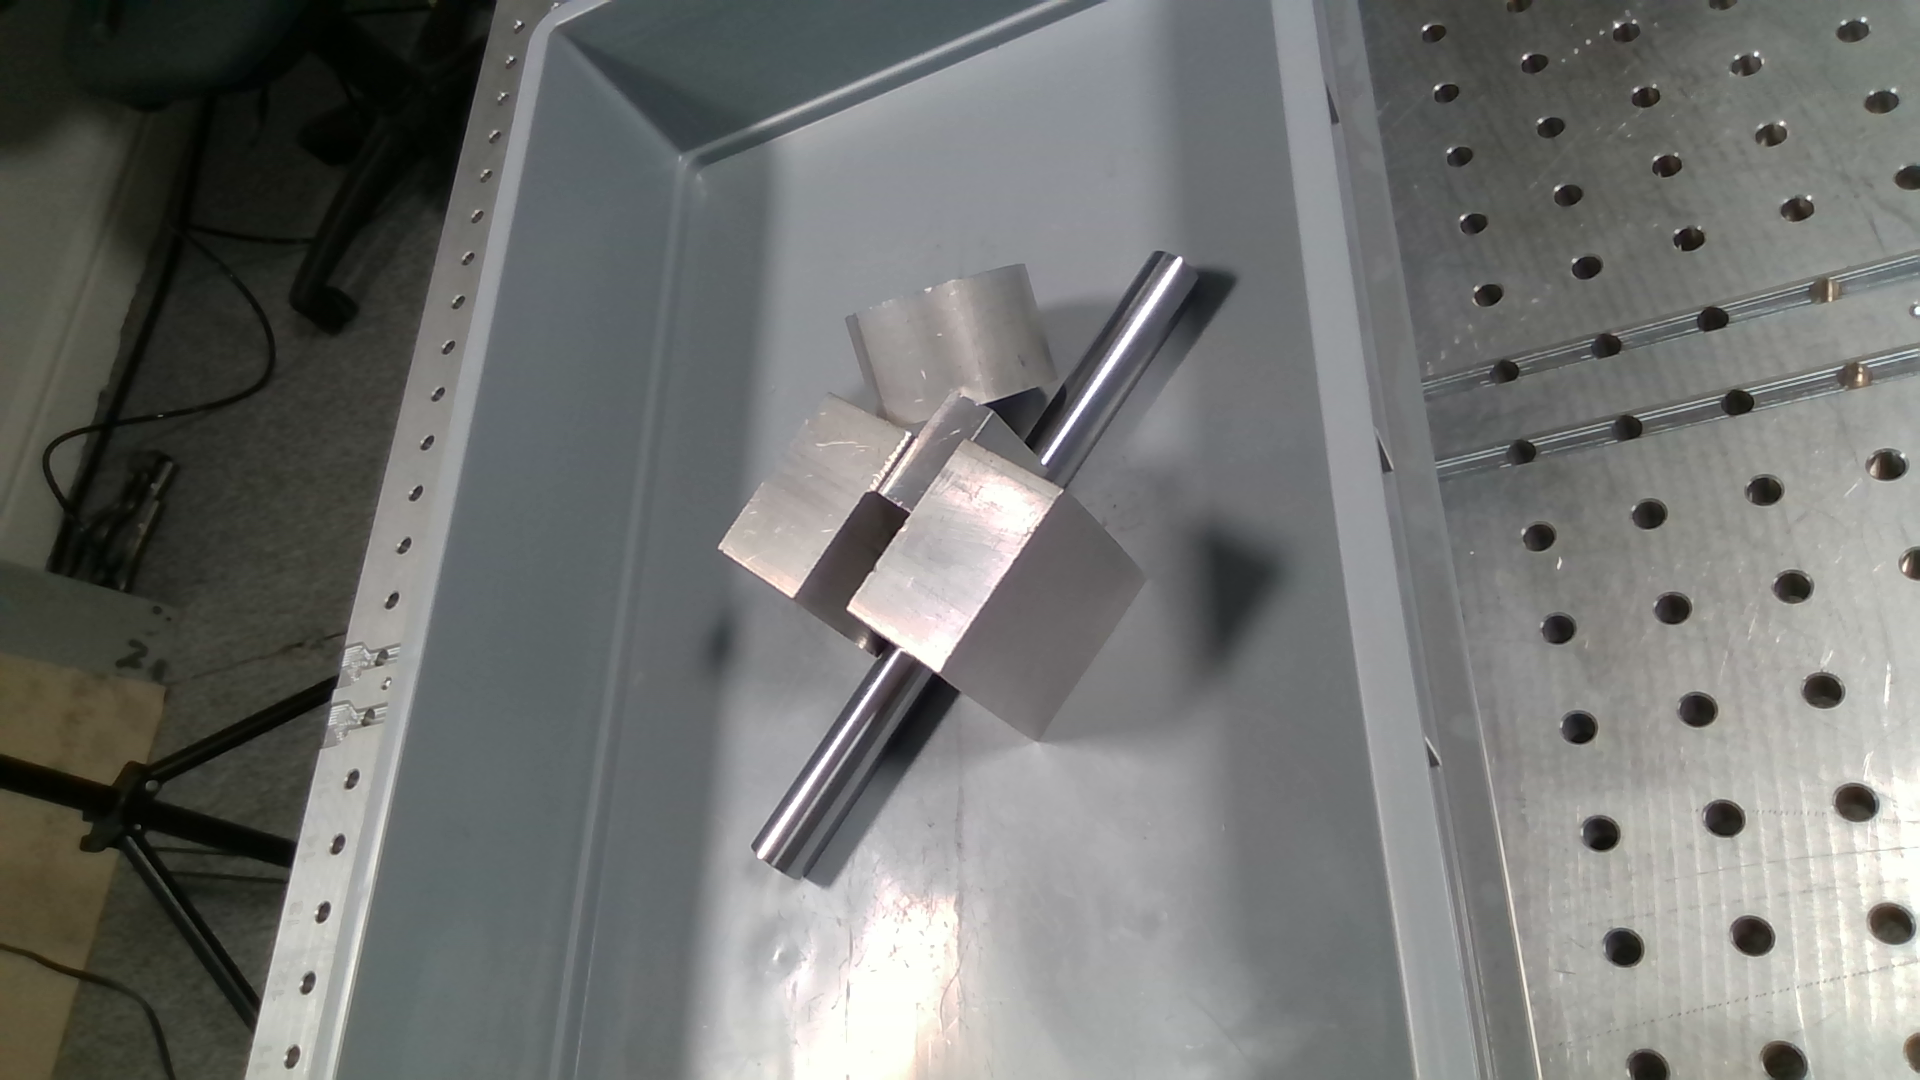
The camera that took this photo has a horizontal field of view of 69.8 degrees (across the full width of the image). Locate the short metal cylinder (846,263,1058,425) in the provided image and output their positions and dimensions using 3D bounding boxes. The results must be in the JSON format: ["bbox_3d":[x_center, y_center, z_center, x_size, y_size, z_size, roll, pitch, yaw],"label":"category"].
[{"bbox_3d":[-0.004,-0.081,0.586,0.080,0.080,0.050,-14,98,25],"label":"short metal cylinder"}]

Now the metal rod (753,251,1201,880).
[{"bbox_3d":[0.009,0.008,0.576,0.025,0.025,0.300,30,83,39],"label":"metal rod"}]

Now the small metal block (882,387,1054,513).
[{"bbox_3d":[0.004,-0.024,0.549,0.025,0.050,0.050,31,84,39],"label":"small metal block"}]

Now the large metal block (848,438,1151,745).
[{"bbox_3d":[0.017,0.021,0.528,0.050,0.080,0.080,31,84,39],"label":"large metal block"}]

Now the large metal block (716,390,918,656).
[{"bbox_3d":[-0.040,-0.002,0.576,0.050,0.080,0.080,29,83,39],"label":"large metal block"}]
